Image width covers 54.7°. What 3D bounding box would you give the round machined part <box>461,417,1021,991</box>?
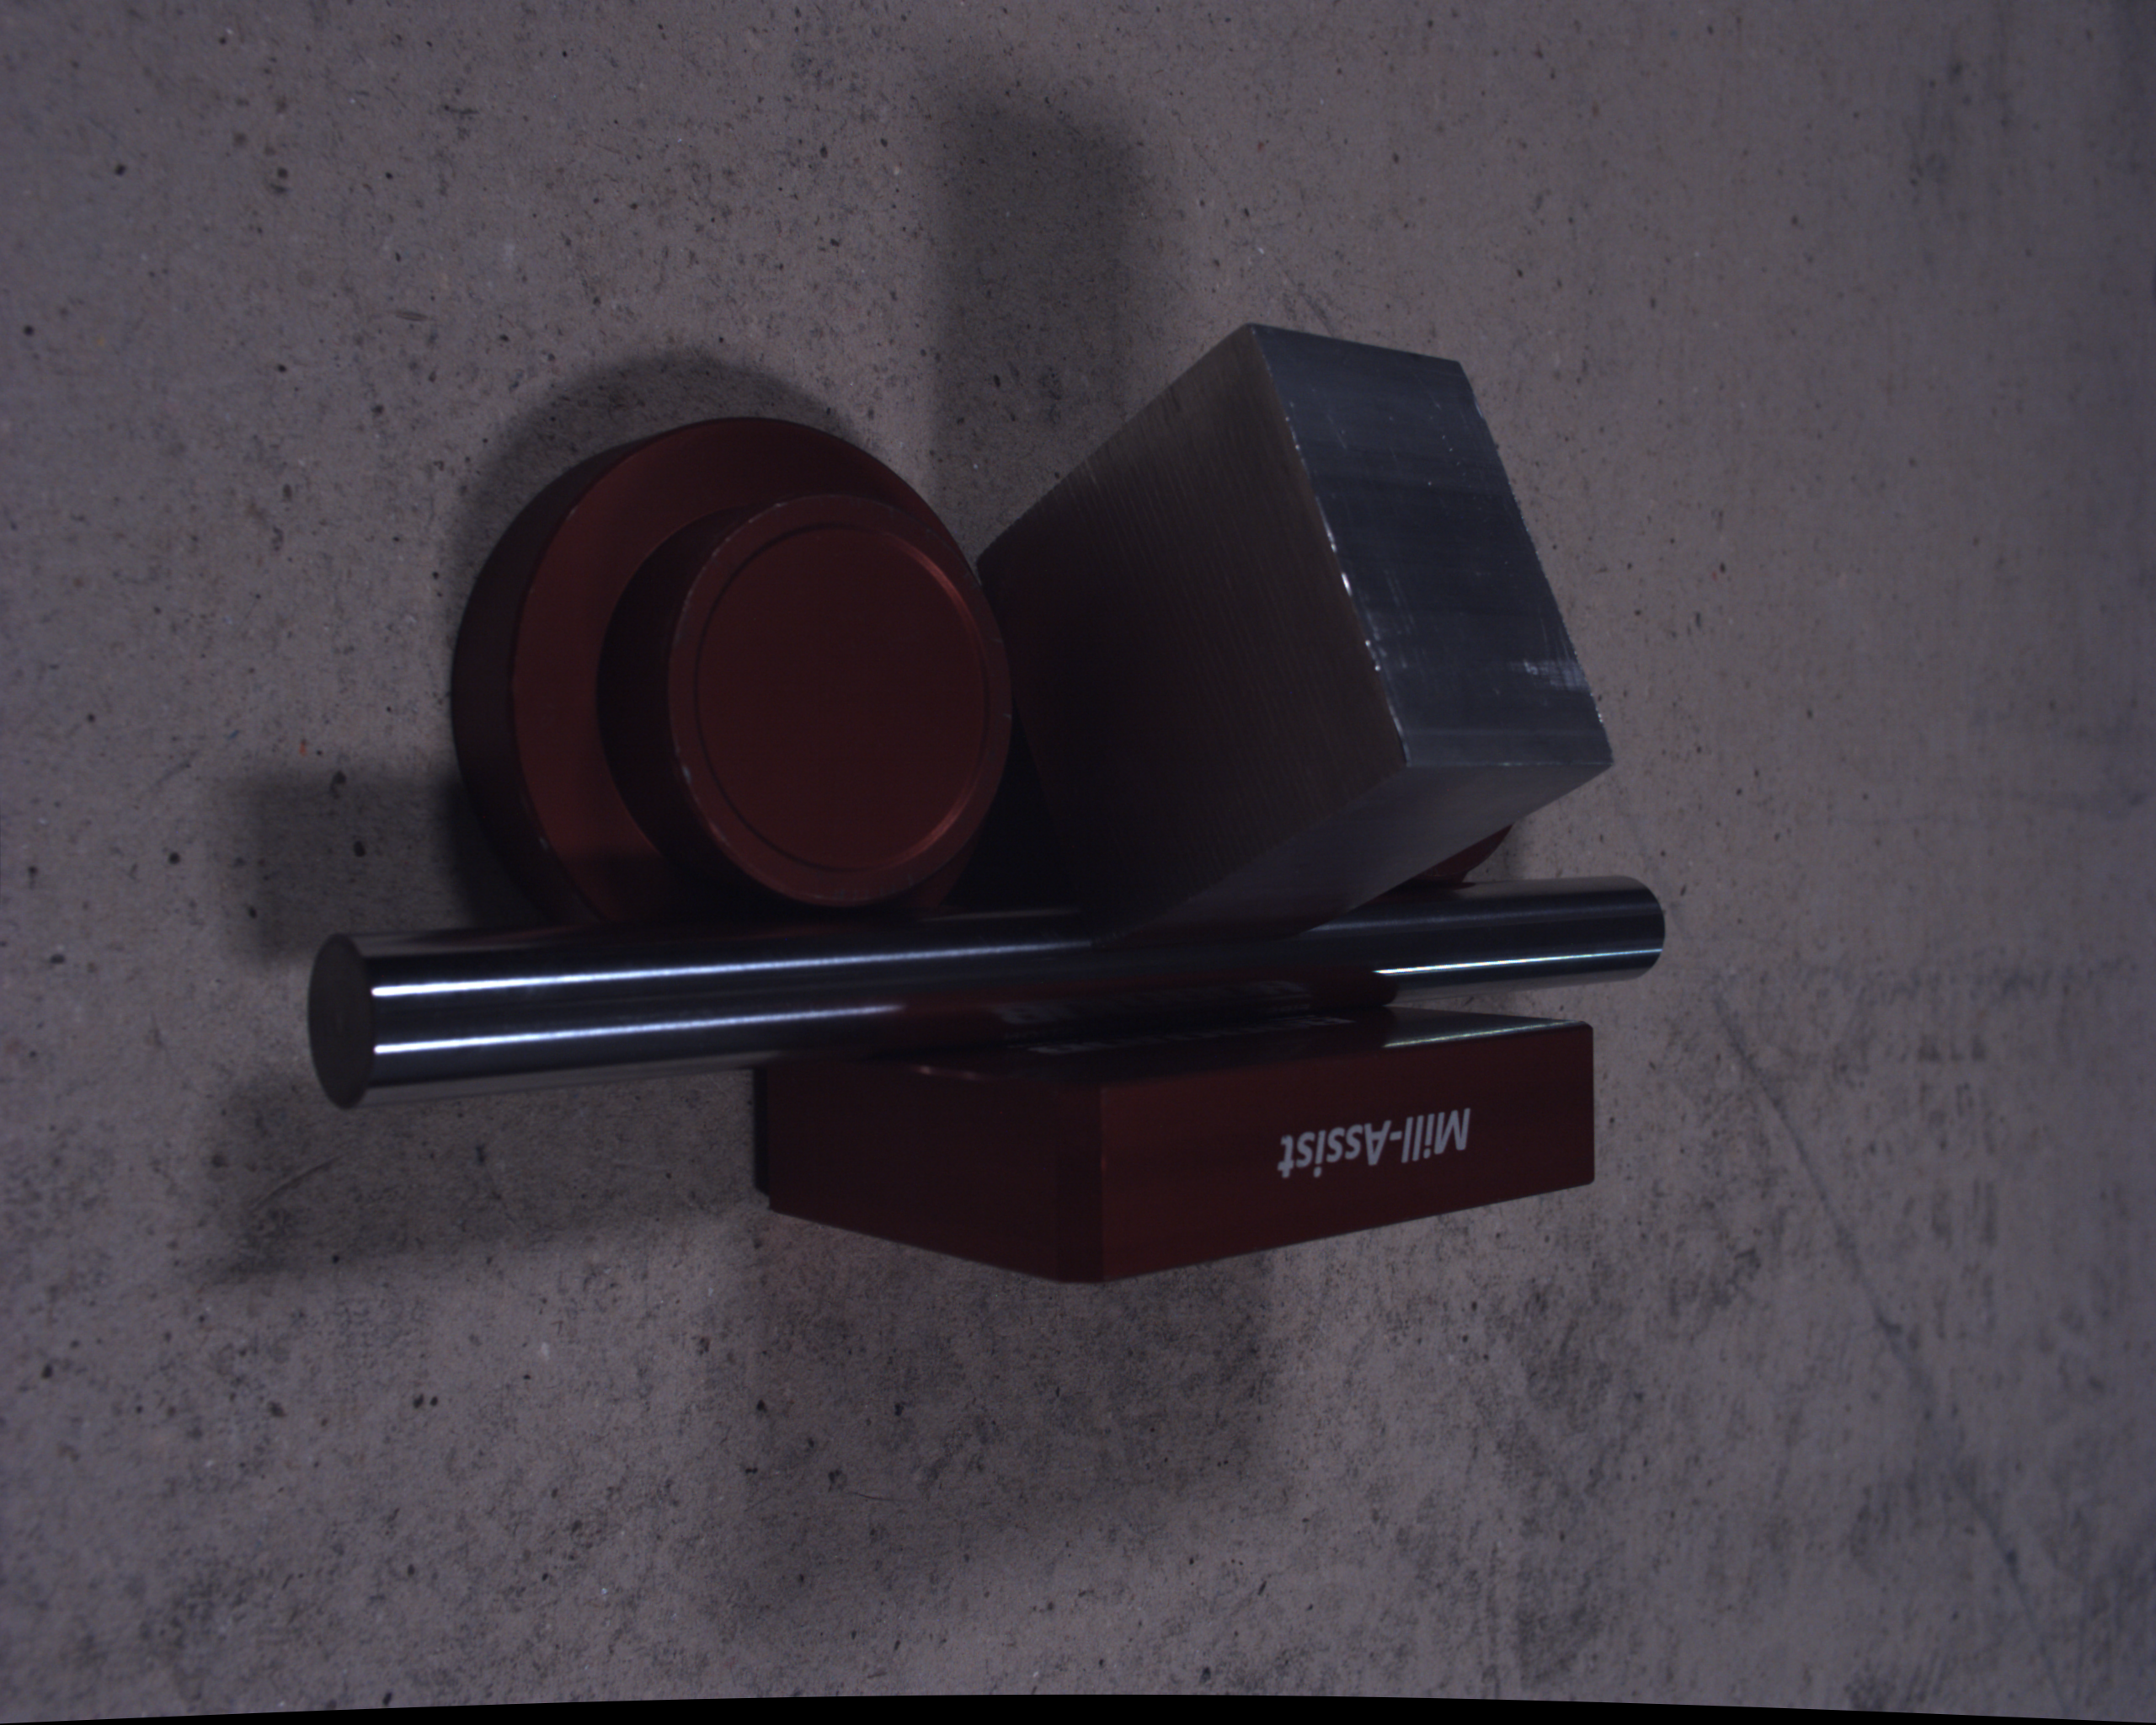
[{"bbox_3d":[-0.049,-0.026,0.353,0.099,0.042,0.097,0,90,-40],"label":"round machined part"}]

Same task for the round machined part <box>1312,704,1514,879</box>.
[{"bbox_3d":[0.062,-0.031,0.448,0.099,0.042,0.097,0,90,-40],"label":"round machined part"}]

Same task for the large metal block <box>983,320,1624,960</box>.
[{"bbox_3d":[0.036,-0.036,0.368,0.050,0.080,0.080,-3,68,-41],"label":"large metal block"}]

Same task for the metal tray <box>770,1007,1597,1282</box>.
[{"bbox_3d":[0.021,0.046,0.384,0.131,0.090,0.030,-2,91,-40],"label":"metal tray"}]

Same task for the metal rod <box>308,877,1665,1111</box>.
[{"bbox_3d":[0.012,0.019,0.391,0.302,0.025,0.025,-2,91,-40],"label":"metal rod"}]
